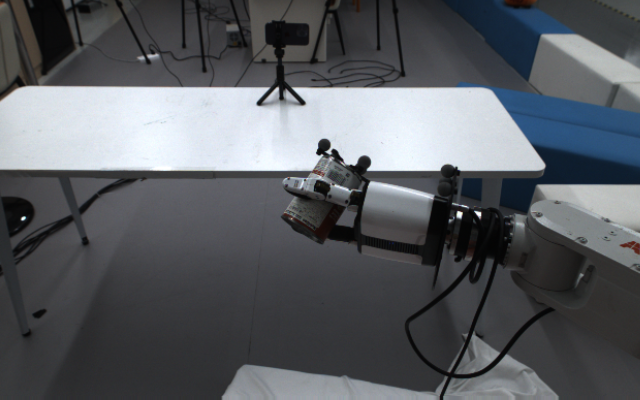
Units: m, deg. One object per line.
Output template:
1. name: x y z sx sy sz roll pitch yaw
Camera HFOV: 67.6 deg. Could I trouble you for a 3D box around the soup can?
1. soup can: 0.004 0.000 0.653 0.067 0.067 0.101 27 78 31
